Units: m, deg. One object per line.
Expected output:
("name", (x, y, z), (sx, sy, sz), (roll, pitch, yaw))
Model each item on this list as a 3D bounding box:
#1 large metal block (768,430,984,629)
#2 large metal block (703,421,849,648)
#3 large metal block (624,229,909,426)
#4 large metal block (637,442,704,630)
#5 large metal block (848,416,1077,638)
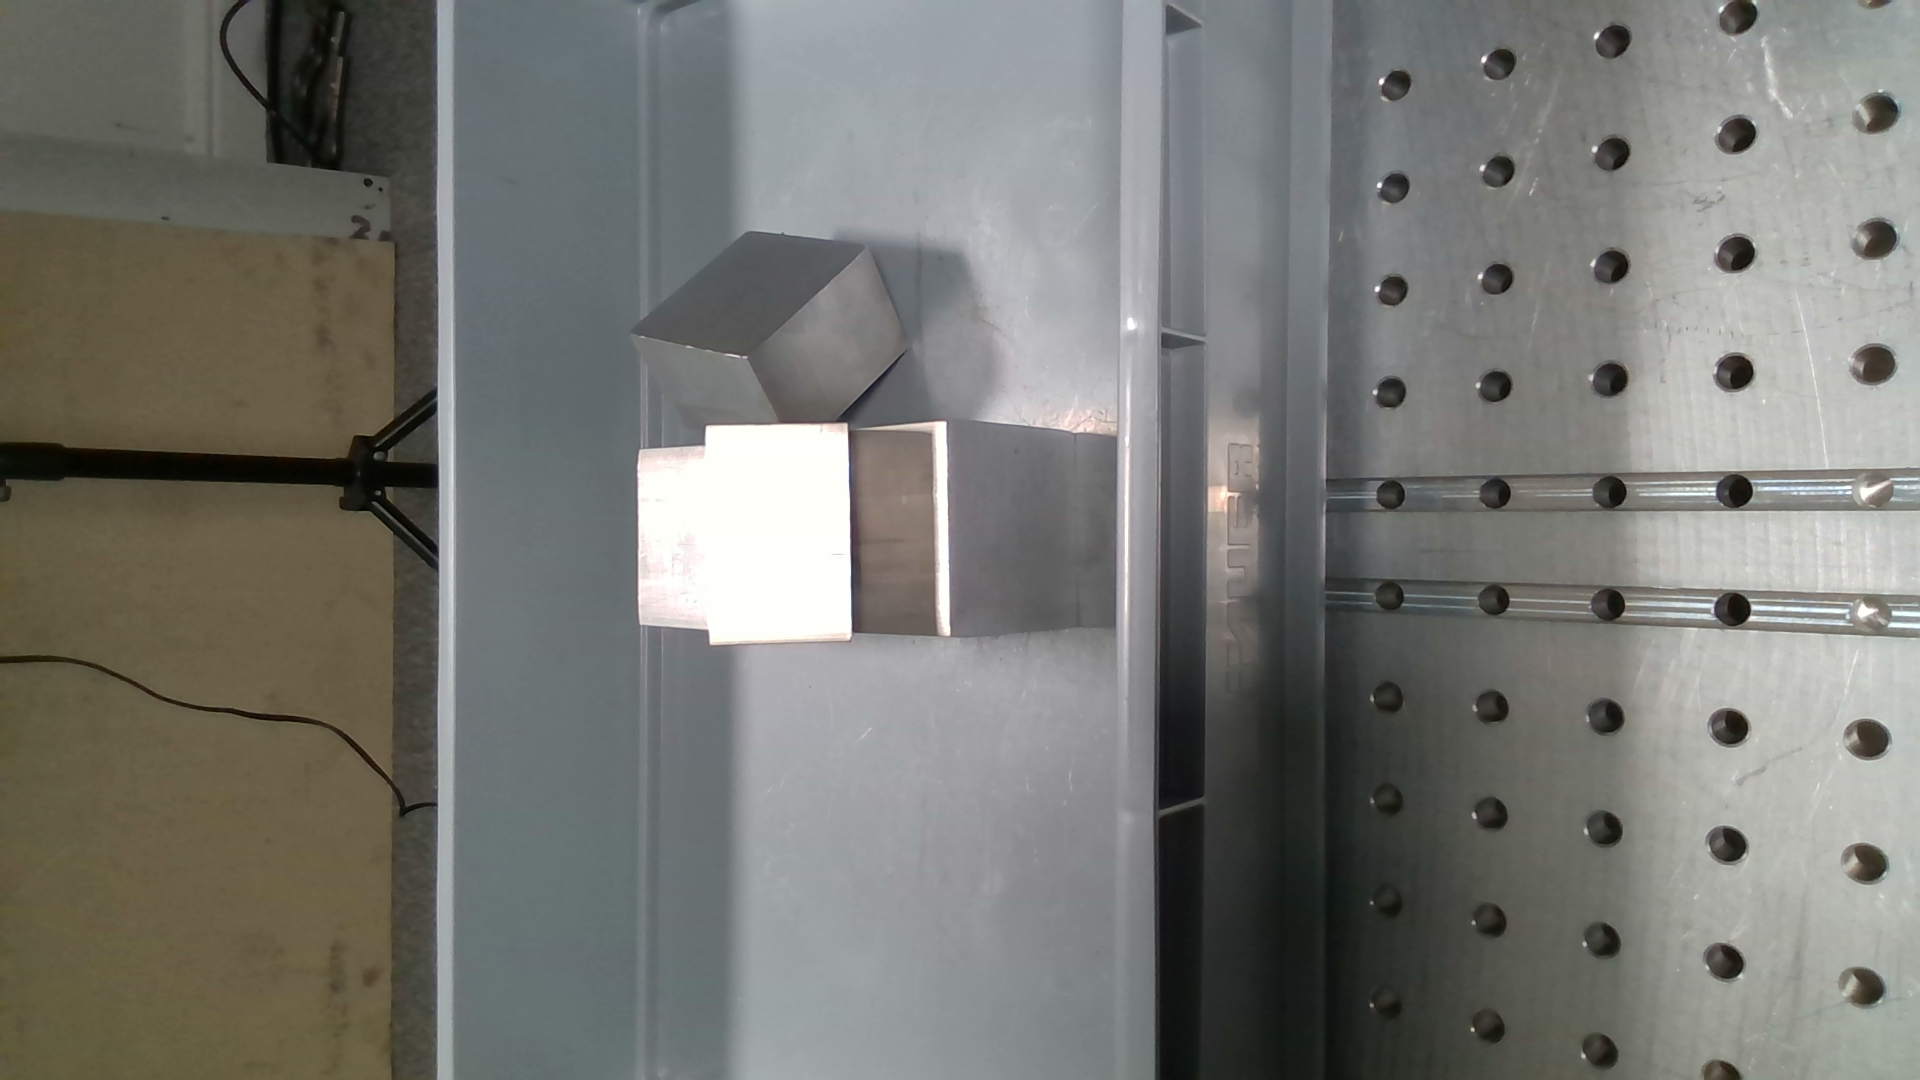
("large metal block", (-0.037, -0.004, 0.598), (0.080, 0.050, 0.080), (-1, 90, 40))
("large metal block", (-0.069, -0.002, 0.529), (0.050, 0.080, 0.080), (-1, 90, -5))
("large metal block", (-0.084, -0.090, 0.604), (0.080, 0.080, 0.050), (16, 144, 39))
("large metal block", (-0.099, -0.002, 0.627), (0.050, 0.080, 0.080), (1, 91, 40))
("large metal block", (0.002, -0.004, 0.542), (0.050, 0.080, 0.080), (-2, 89, 40))
